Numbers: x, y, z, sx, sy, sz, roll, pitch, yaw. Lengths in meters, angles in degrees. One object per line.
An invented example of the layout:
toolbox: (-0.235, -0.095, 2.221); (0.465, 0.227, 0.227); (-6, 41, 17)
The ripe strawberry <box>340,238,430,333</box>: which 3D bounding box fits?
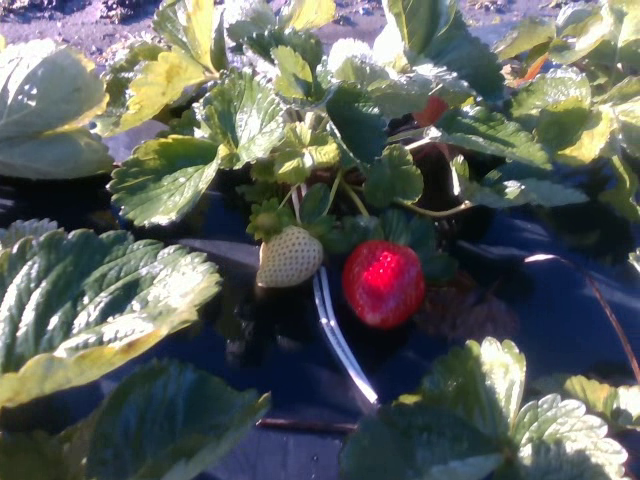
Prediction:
ripe strawberry: (0.041, 0.022, 0.333); (0.040, 0.063, 0.080); (-41, 8, 28)
